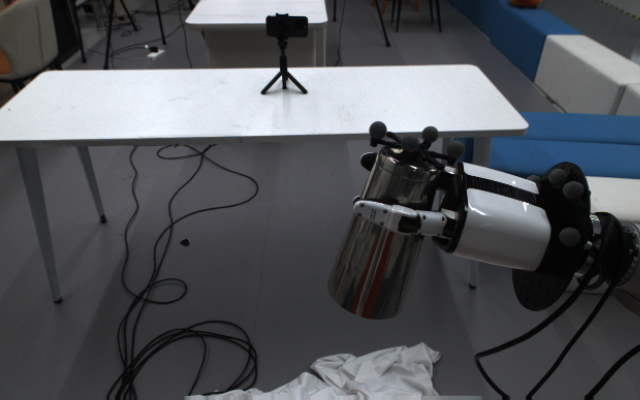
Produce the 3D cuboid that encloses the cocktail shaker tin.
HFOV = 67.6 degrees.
[{"bbox_3d":[0.076,0.029,0.525,0.093,0.170,0.093,12,25,-6],"label":"cocktail shaker tin"}]
